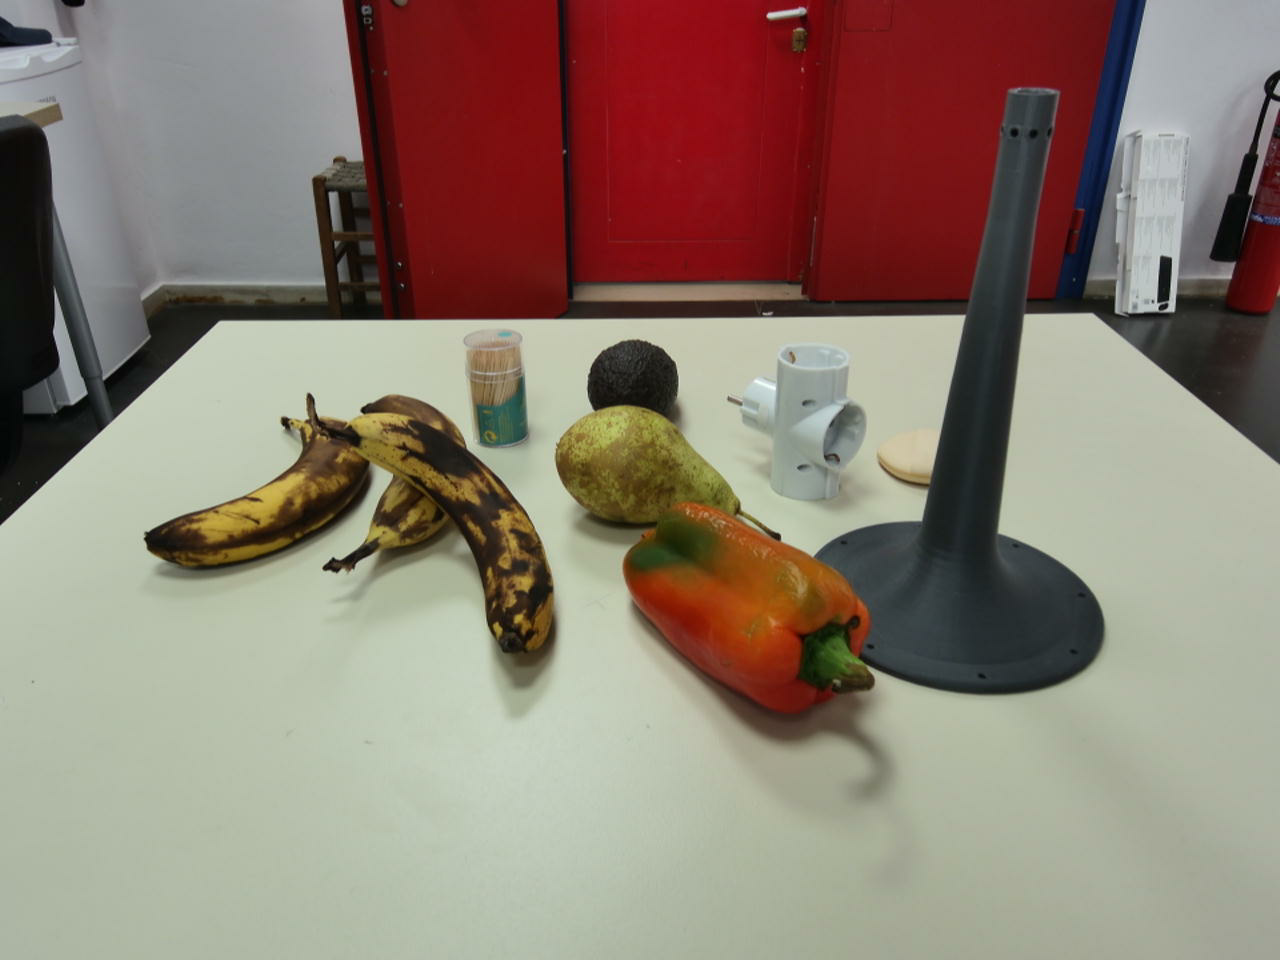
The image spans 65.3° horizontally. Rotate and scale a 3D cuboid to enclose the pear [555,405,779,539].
[{"bbox_3d":[0.014,-0.010,0.601,0.128,0.075,0.071,-6,27,-7],"label":"pear"}]
